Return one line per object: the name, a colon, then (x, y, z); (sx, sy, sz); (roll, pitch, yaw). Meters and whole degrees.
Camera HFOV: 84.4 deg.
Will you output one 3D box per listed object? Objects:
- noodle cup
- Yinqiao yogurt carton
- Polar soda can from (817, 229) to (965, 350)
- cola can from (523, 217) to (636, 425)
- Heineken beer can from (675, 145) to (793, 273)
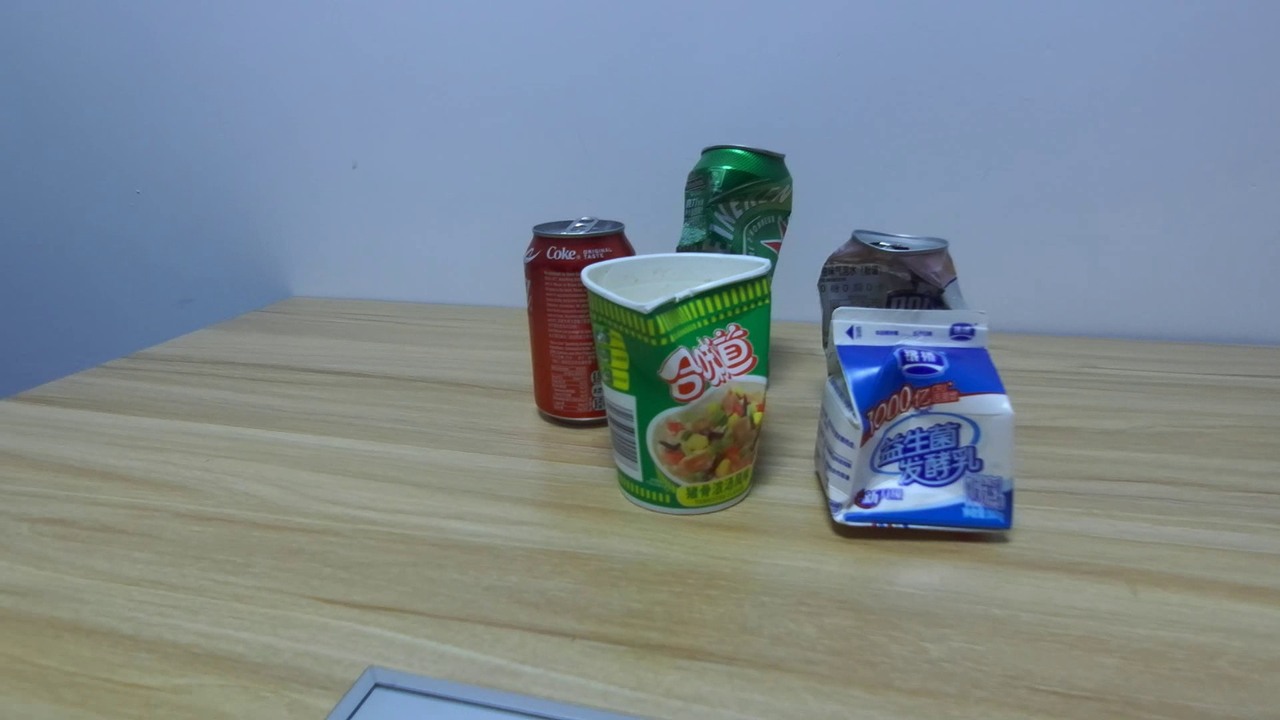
noodle cup: (0.021, 0.009, 0.347); (0.094, 0.109, 0.086); (-11, 22, -24)
Yinqiao yogurt carton: (0.124, 0.022, 0.329); (0.077, 0.094, 0.071); (0, 14, 5)
Polar soda can: (0.148, -0.018, 0.414); (0.074, 0.114, 0.070); (-10, 28, -13)
cola can: (-0.035, -0.025, 0.436); (0.068, 0.120, 0.068); (-1, 20, 1)
Heineken beer can: (0.058, -0.057, 0.463); (0.067, 0.159, 0.079); (8, 15, 12)
